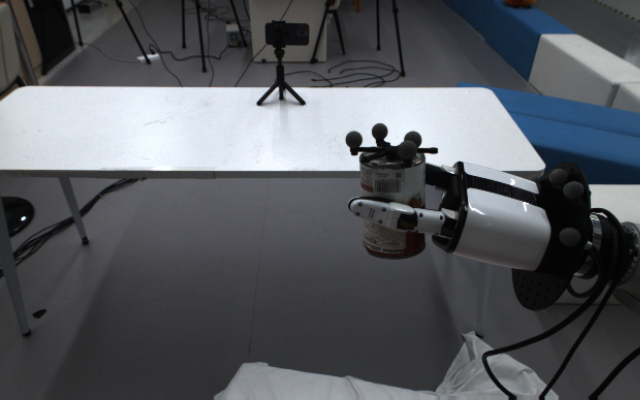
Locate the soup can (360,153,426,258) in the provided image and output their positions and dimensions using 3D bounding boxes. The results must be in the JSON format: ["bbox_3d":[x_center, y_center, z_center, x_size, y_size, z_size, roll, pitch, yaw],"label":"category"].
[{"bbox_3d":[0.079,0.001,0.509,0.067,0.101,0.067,-4,21,2],"label":"soup can"}]
